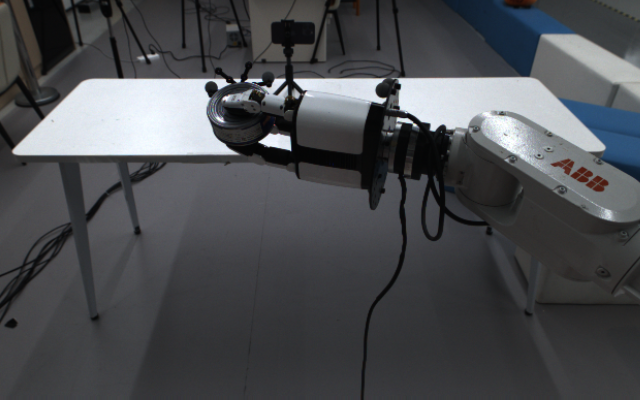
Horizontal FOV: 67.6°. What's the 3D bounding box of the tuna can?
[{"bbox_3d":[-0.099,-0.108,0.632,0.085,0.034,0.085,-3,58,5],"label":"tuna can"}]
